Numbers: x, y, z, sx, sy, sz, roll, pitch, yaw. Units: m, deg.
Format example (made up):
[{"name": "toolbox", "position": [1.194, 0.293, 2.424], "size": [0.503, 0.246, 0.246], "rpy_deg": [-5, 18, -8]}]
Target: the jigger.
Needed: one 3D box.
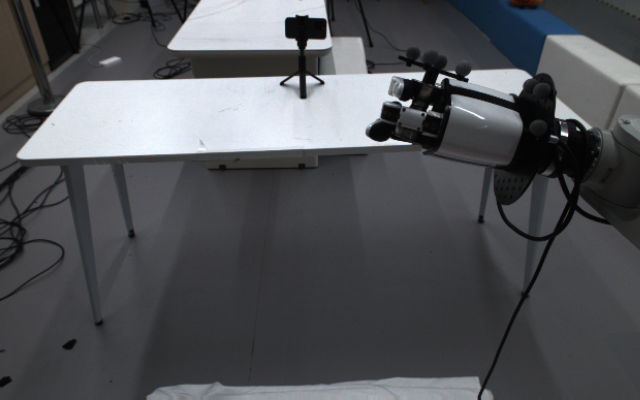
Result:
[{"name": "jigger", "position": [0.114, -0.108, 0.582], "size": [0.043, 0.071, 0.043], "rpy_deg": [18, 17, -5]}]
